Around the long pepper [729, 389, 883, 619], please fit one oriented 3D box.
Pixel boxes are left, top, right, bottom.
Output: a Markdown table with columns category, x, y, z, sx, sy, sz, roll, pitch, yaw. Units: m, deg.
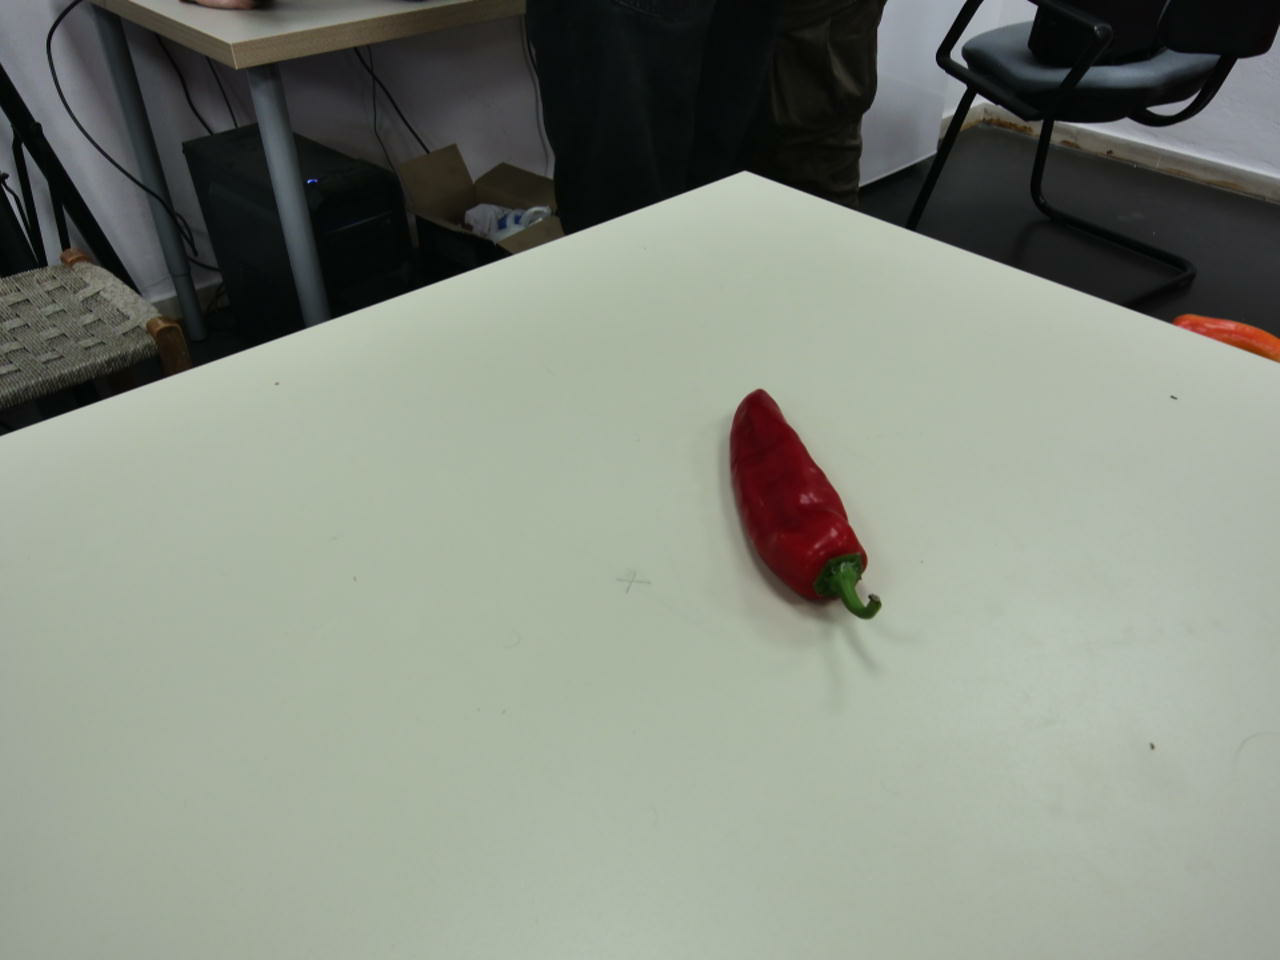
| category | x | y | z | sx | sy | sz | roll | pitch | yaw |
| --- | --- | --- | --- | --- | --- | --- | --- | --- | --- |
| long pepper | 0.079 | 0.008 | 0.531 | 0.050 | 0.043 | 0.211 | -5 | 36 | -6 |
